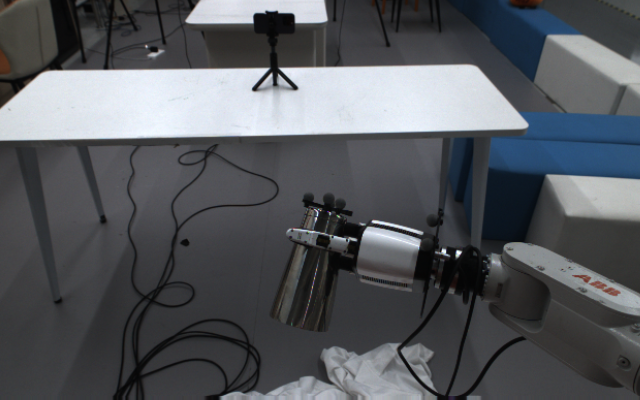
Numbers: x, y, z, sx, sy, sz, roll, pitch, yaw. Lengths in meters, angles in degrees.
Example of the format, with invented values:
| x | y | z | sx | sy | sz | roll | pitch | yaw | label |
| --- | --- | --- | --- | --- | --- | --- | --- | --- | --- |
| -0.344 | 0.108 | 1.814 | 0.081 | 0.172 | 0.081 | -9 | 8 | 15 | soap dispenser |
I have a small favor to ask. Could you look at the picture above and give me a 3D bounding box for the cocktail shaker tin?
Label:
| x | y | z | sx | sy | sz | roll | pitch | yaw | label |
| --- | --- | --- | --- | --- | --- | --- | --- | --- | --- |
| -0.010 | 0.101 | 0.737 | 0.093 | 0.170 | 0.093 | 15 | -5 | 1 | cocktail shaker tin |
